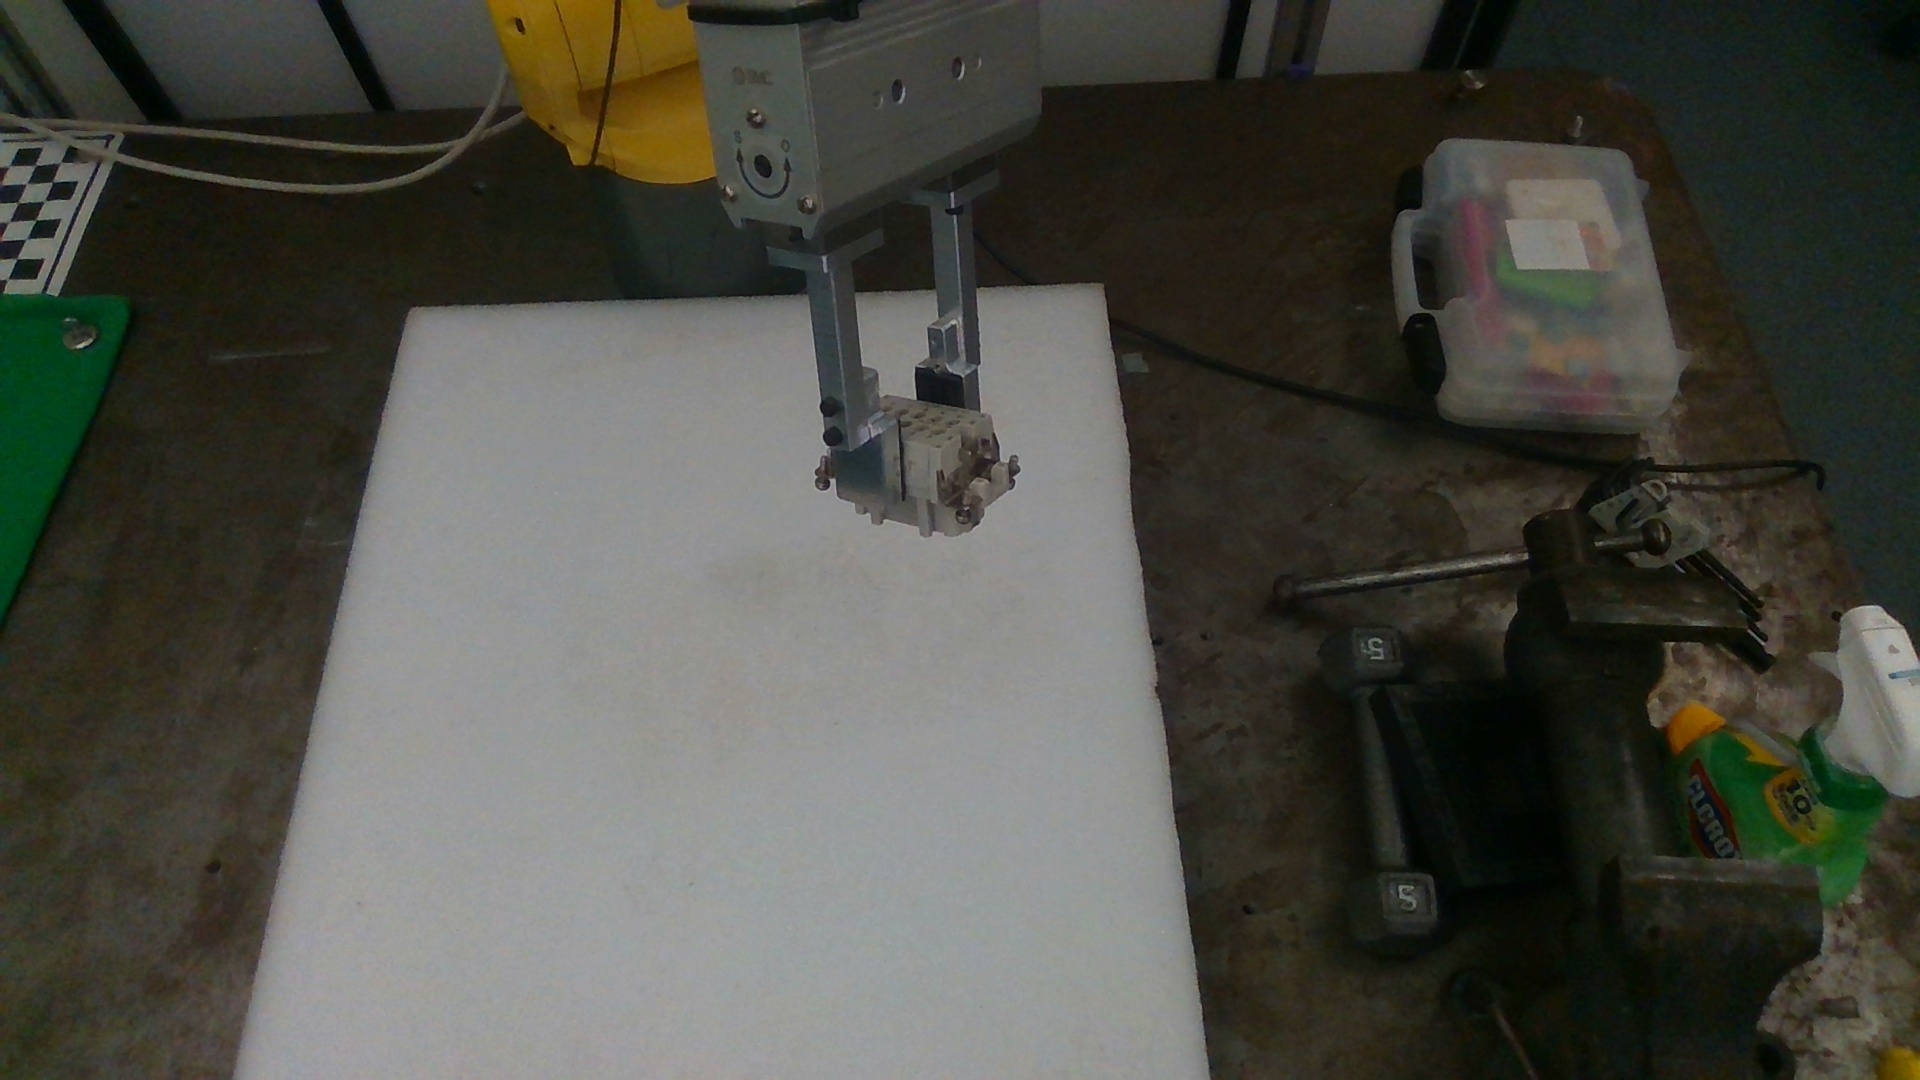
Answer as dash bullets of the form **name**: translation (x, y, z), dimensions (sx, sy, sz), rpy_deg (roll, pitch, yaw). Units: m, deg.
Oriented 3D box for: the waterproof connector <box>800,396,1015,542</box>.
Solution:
- **waterproof connector**: translation (-0.017, -0.024, 0.462), dimensions (0.069, 0.038, 0.036), rpy_deg (10, 28, 30)
